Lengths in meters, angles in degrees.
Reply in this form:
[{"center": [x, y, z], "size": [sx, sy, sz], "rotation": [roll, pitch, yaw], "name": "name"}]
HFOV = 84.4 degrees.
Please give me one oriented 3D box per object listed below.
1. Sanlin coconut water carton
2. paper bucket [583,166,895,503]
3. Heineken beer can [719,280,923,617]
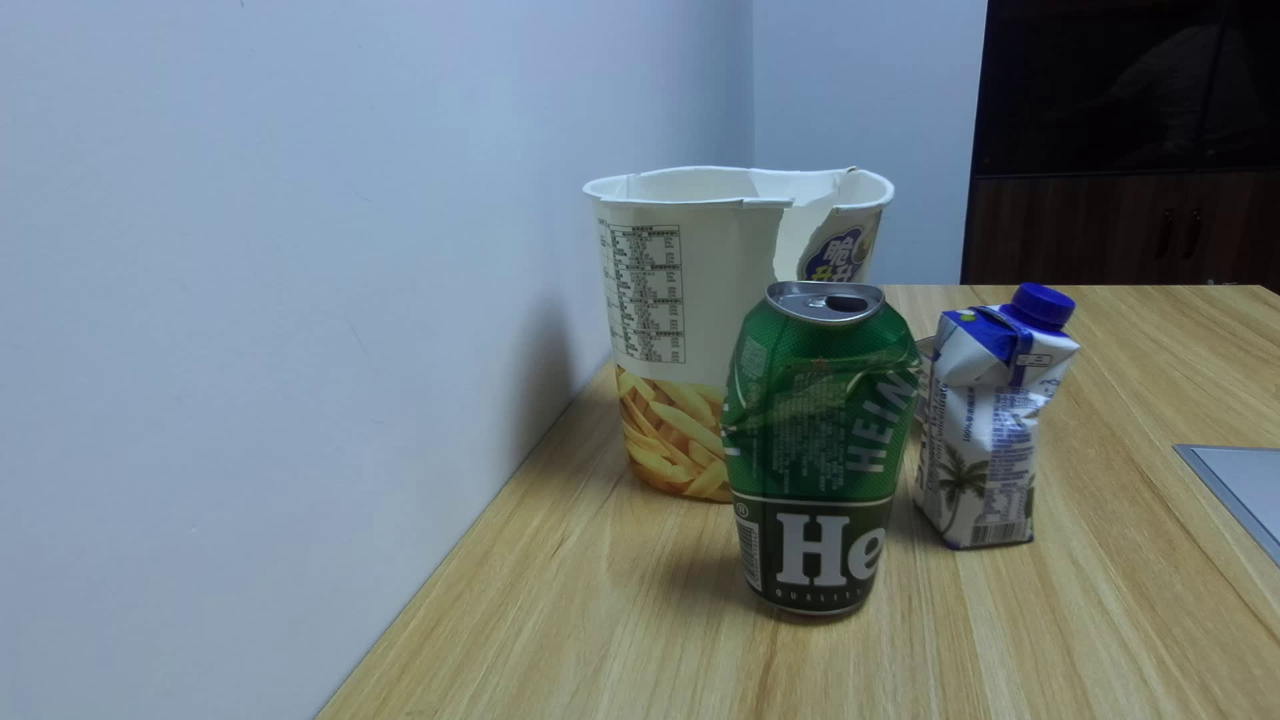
[{"center": [0.194, 0.031, 0.390], "size": [0.070, 0.144, 0.060], "rotation": [-4, 22, -2], "name": "Sanlin coconut water carton"}, {"center": [0.060, -0.024, 0.476], "size": [0.202, 0.197, 0.146], "rotation": [6, 25, 25], "name": "paper bucket"}, {"center": [0.084, 0.045, 0.348], "size": [0.066, 0.164, 0.077], "rotation": [-20, 28, -37], "name": "Heineken beer can"}]
